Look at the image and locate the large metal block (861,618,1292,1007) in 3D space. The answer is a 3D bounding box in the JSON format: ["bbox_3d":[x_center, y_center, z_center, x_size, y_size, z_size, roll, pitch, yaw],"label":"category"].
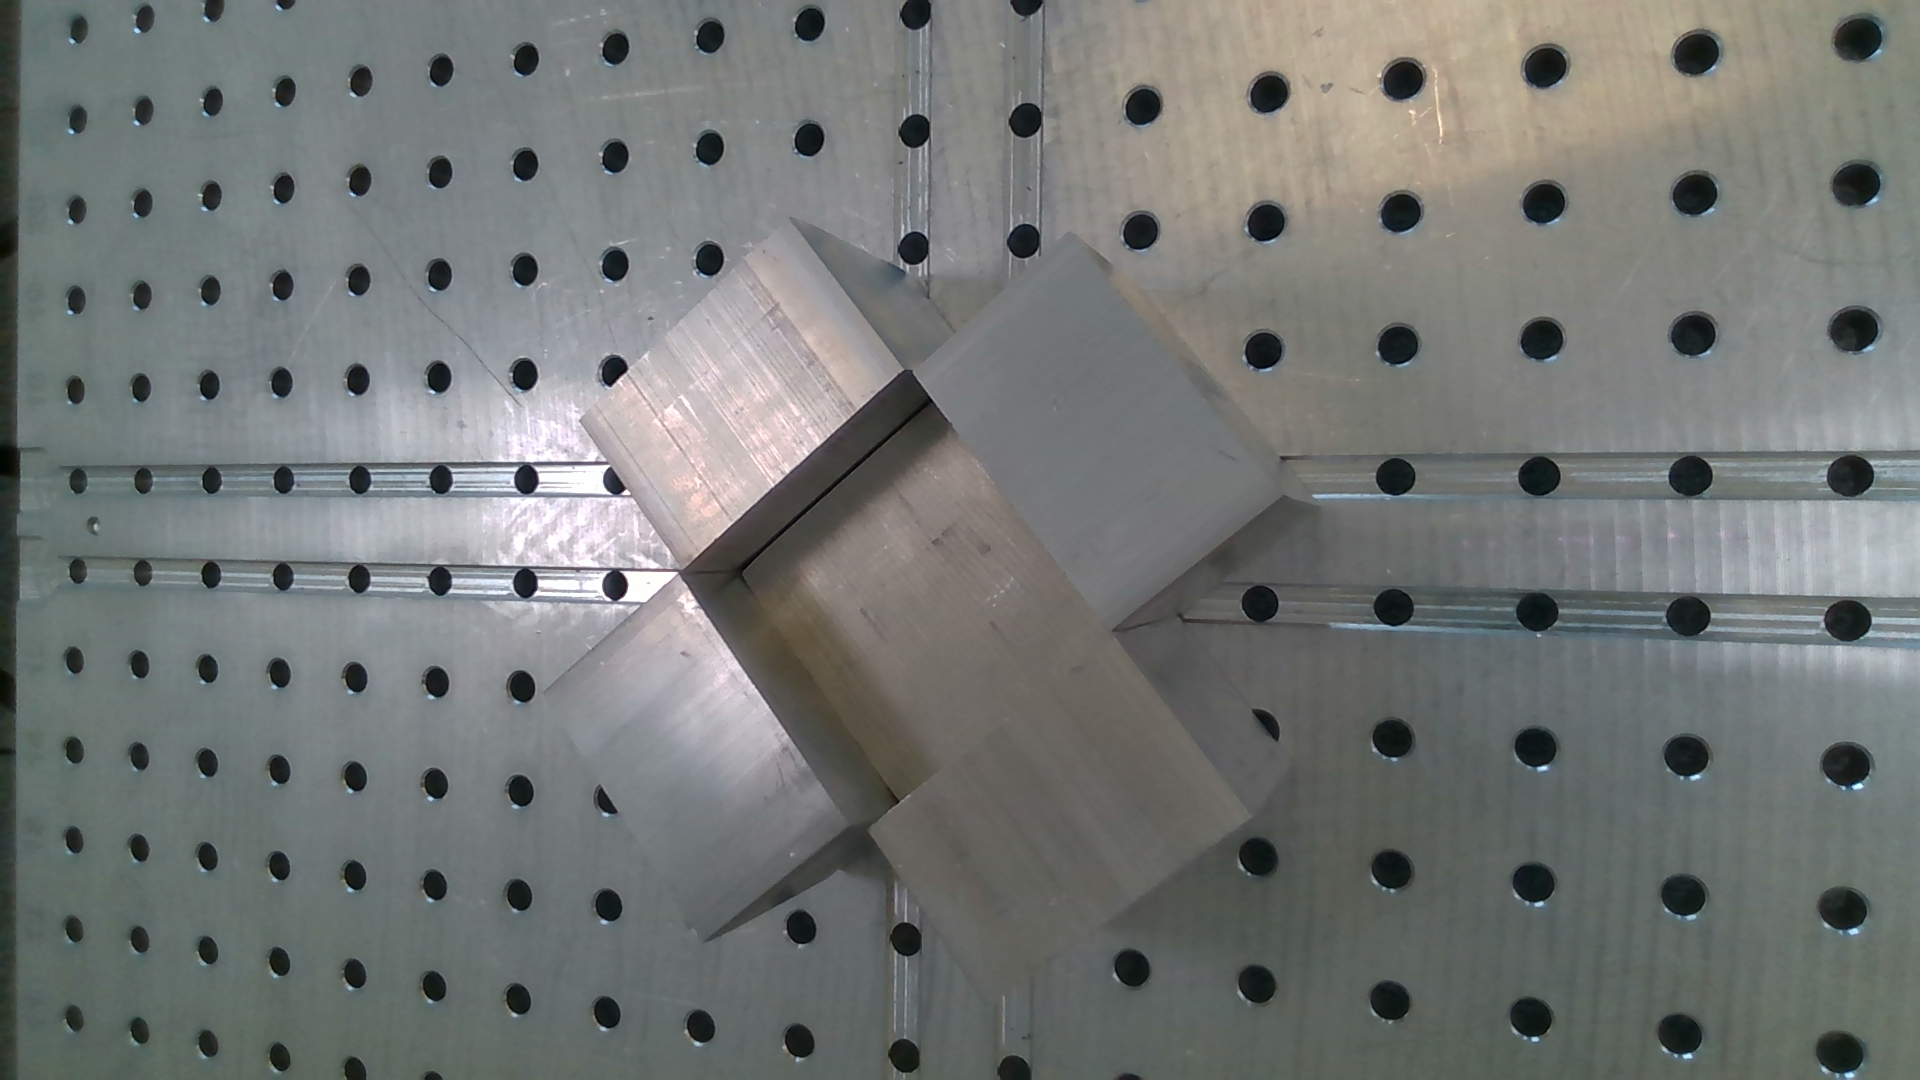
[{"bbox_3d":[0.034,0.065,0.355,0.080,0.080,0.050,-41,77,16],"label":"large metal block"}]

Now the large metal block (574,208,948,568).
[{"bbox_3d":[-0.044,-0.037,0.382,0.080,0.080,0.050,-41,77,16],"label":"large metal block"}]

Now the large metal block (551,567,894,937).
[{"bbox_3d":[-0.054,0.054,0.388,0.050,0.080,0.080,-39,78,16],"label":"large metal block"}]

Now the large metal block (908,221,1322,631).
[{"bbox_3d":[0.043,-0.026,0.351,0.050,0.080,0.080,-41,77,16],"label":"large metal block"}]

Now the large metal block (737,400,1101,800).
[{"bbox_3d":[0.000,0.015,0.382,0.080,0.050,0.080,-40,75,14],"label":"large metal block"}]
